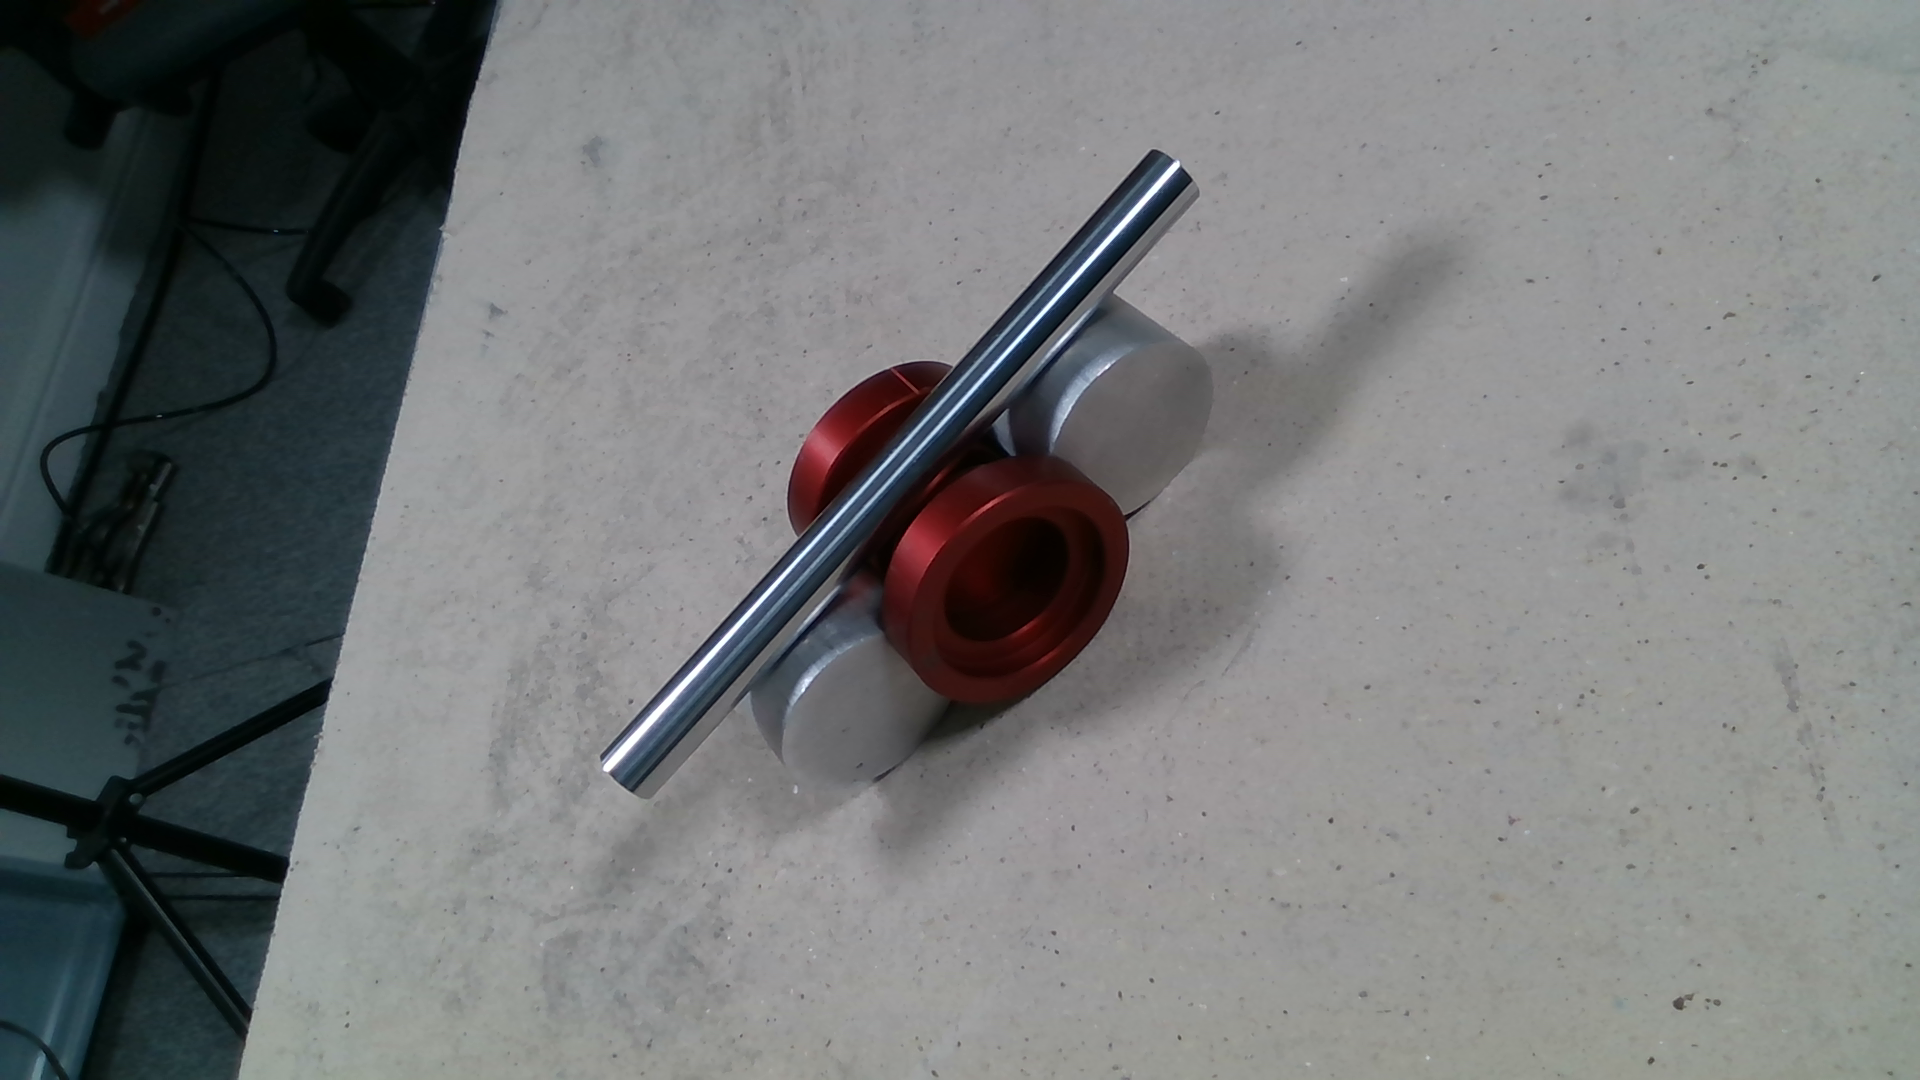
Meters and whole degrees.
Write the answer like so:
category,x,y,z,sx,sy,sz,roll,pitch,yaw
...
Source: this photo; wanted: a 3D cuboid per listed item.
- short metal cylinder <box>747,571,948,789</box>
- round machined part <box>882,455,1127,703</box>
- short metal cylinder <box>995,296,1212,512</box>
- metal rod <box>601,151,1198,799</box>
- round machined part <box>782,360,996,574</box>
category,x,y,z,sx,sy,sz,roll,pitch,yaw
short metal cylinder,-0.048,0.052,0.552,0.080,0.080,0.050,-47,51,2
round machined part,0.012,0.011,0.526,0.098,0.098,0.042,-47,46,2
short metal cylinder,0.053,-0.055,0.546,0.080,0.080,0.050,-47,51,2
metal rod,-0.023,-0.023,0.509,0.300,0.025,0.025,-48,51,1
round machined part,-0.020,-0.020,0.560,0.098,0.098,0.042,-47,55,2
